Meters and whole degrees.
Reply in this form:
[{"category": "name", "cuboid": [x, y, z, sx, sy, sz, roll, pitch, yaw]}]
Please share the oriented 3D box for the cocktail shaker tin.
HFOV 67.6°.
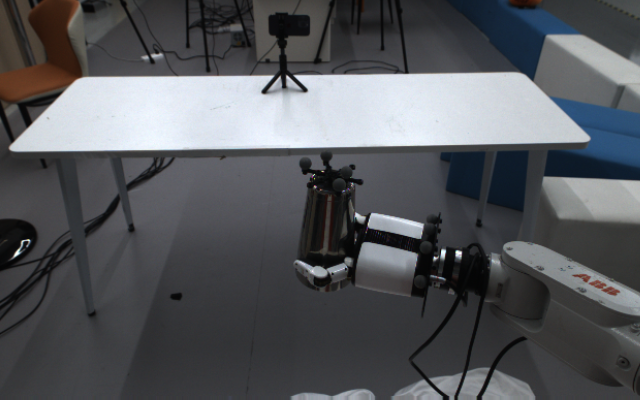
[{"category": "cocktail shaker tin", "cuboid": [0.012, 0.042, 0.722, 0.093, 0.170, 0.093, 3, 34, -2]}]
